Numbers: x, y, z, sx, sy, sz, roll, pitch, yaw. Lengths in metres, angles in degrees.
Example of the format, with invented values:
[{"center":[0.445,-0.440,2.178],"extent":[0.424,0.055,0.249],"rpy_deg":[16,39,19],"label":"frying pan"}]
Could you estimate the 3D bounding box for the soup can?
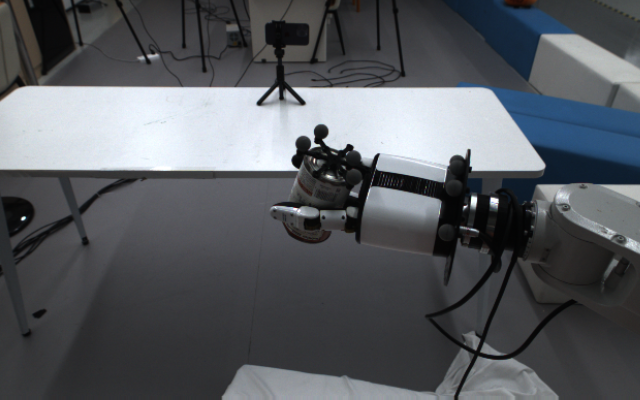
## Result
[{"center":[-0.001,-0.005,0.588],"extent":[0.067,0.101,0.067],"rpy_deg":[14,39,-12],"label":"soup can"}]
